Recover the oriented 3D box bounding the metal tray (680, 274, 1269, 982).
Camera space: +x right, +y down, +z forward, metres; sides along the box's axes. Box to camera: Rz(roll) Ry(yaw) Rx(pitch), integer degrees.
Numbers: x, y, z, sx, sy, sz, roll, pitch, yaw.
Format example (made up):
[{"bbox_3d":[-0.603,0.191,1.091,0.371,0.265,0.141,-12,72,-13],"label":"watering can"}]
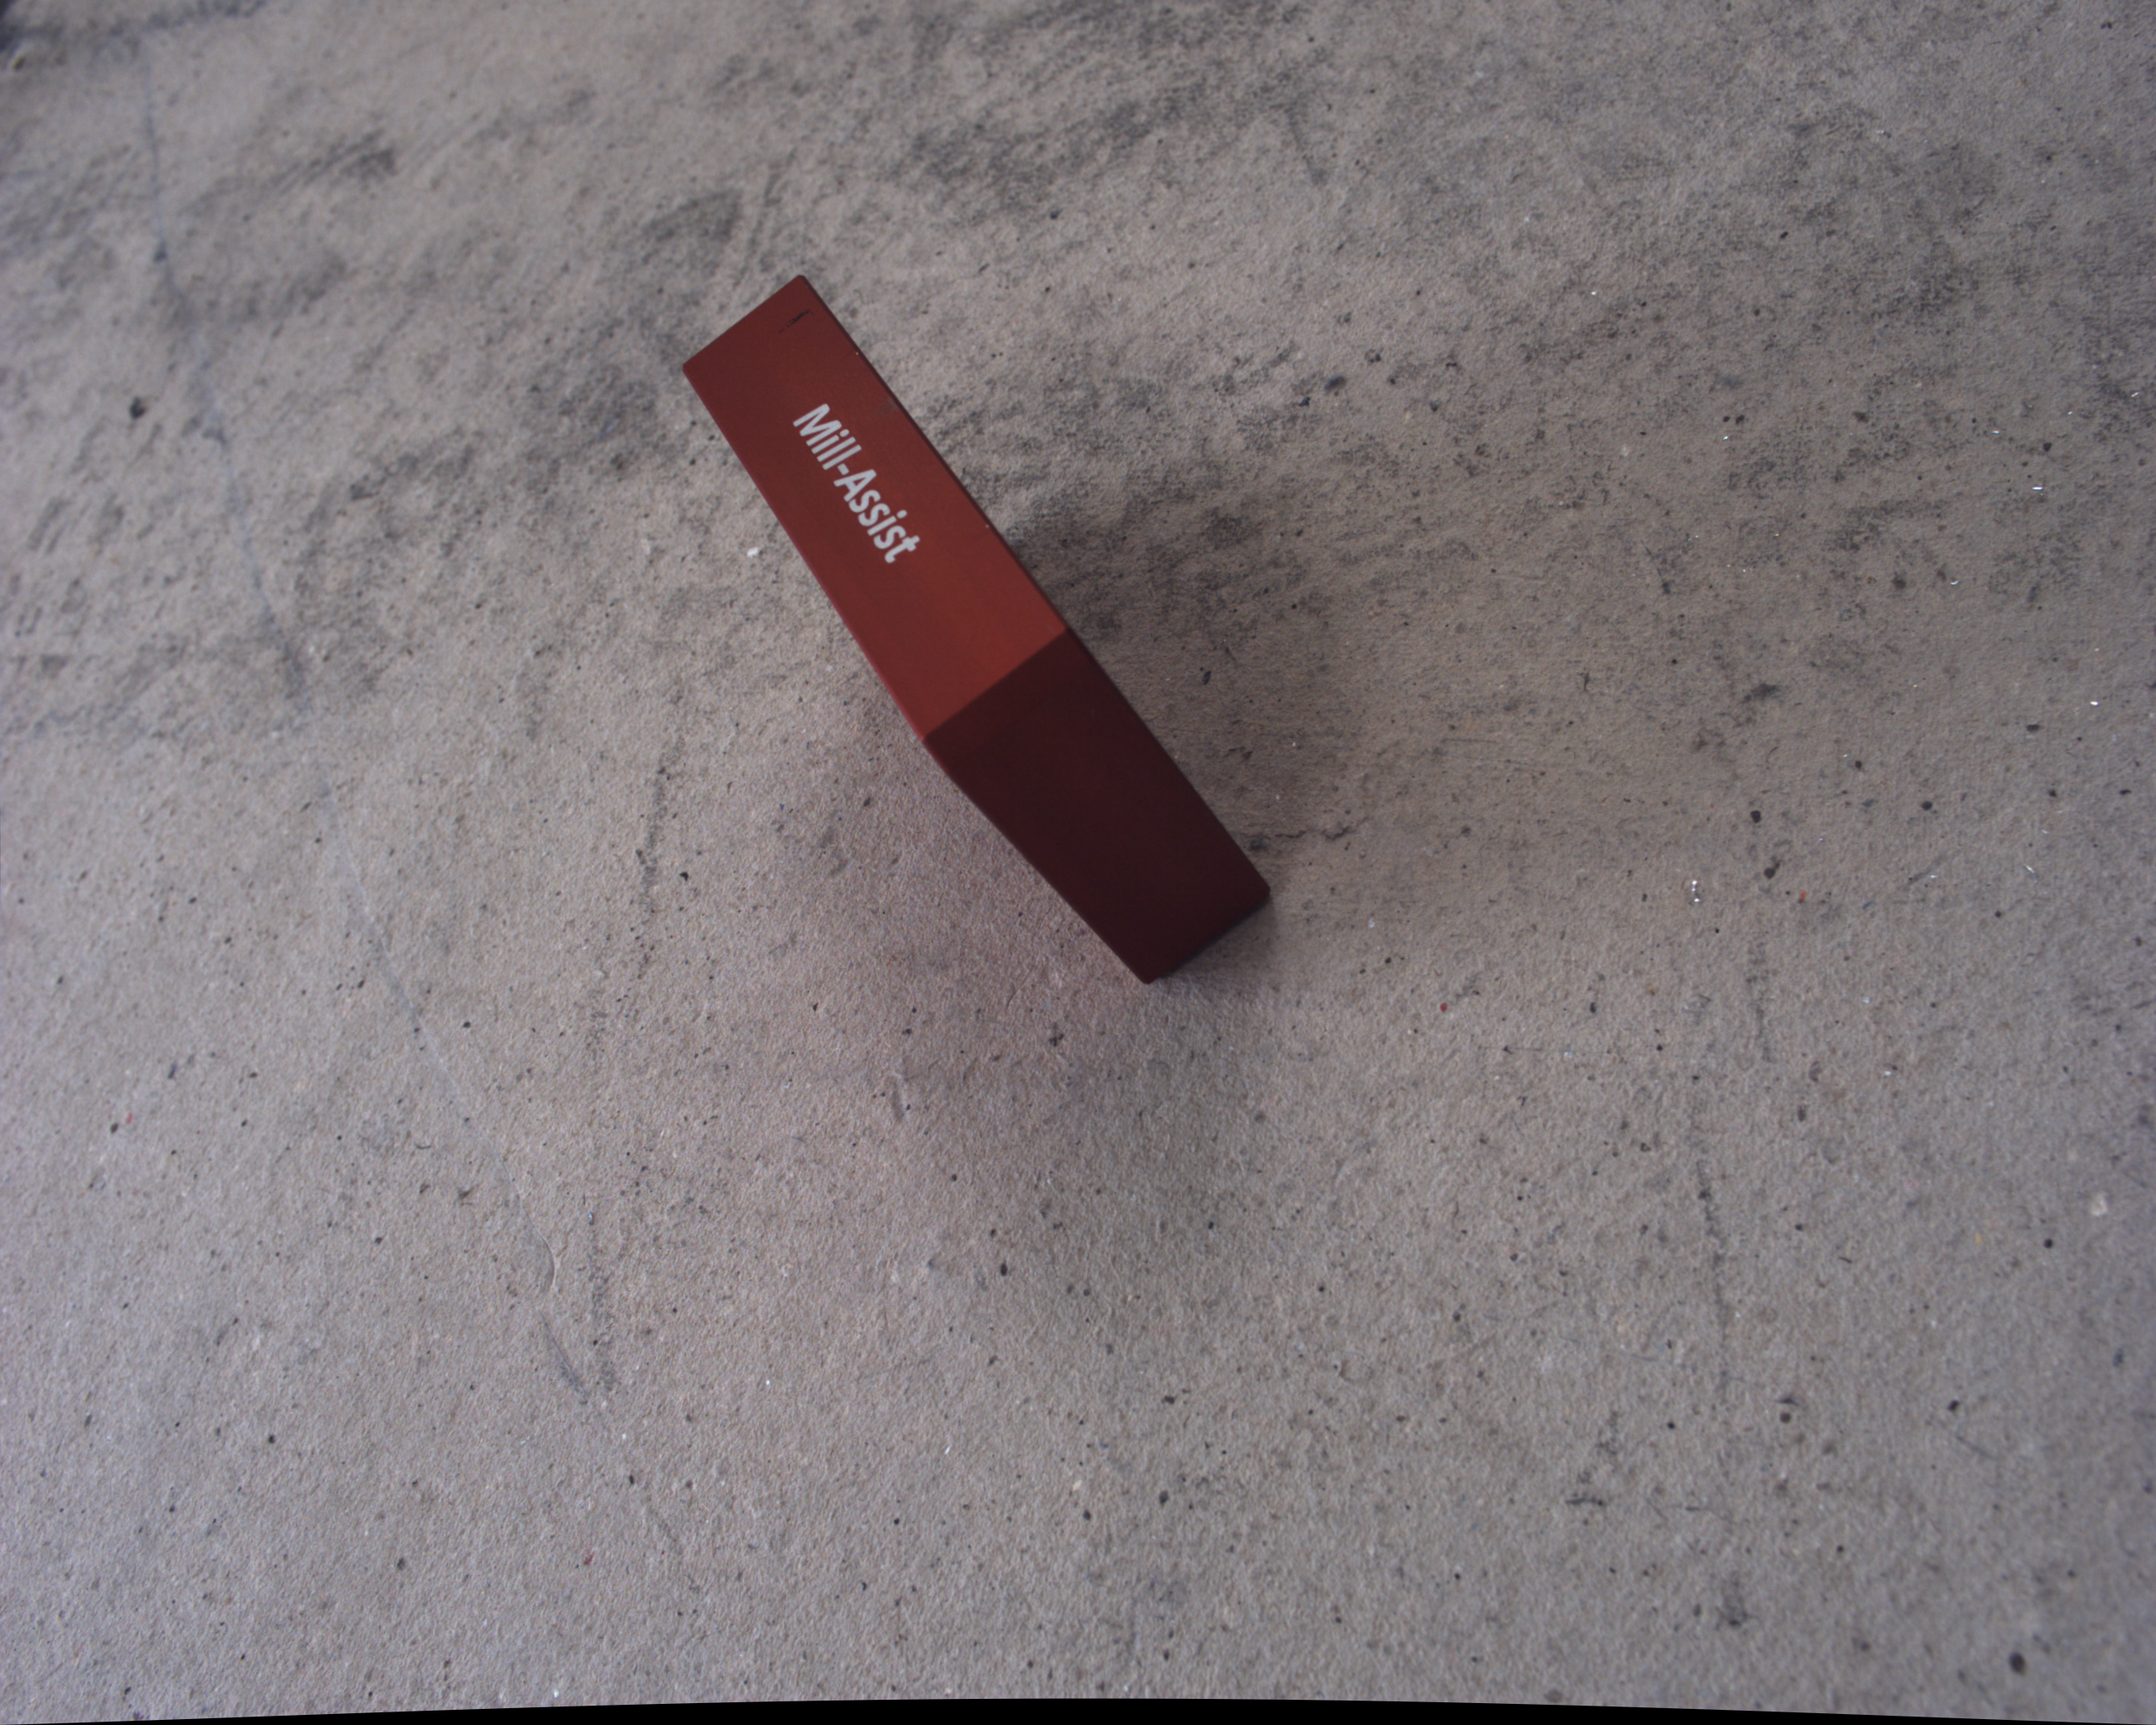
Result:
[{"bbox_3d":[-0.021,-0.046,0.403,0.030,0.090,0.130,-37,52,4],"label":"metal tray"}]
